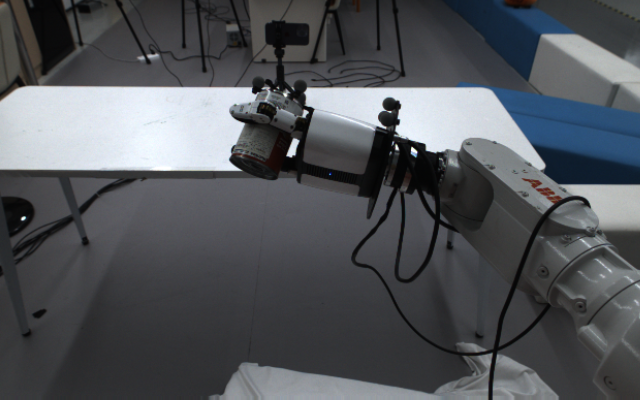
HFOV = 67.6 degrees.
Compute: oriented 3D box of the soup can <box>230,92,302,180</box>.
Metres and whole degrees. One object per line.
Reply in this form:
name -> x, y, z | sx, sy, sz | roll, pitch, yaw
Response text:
soup can -> -0.069, -0.085, 0.641 | 0.067, 0.067, 0.101 | 16, 76, 19
